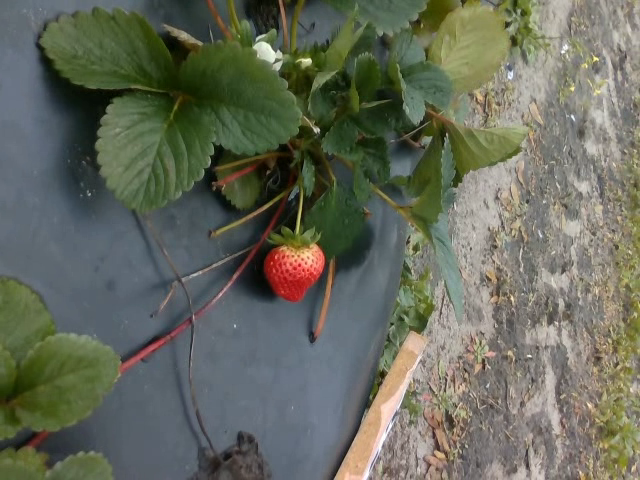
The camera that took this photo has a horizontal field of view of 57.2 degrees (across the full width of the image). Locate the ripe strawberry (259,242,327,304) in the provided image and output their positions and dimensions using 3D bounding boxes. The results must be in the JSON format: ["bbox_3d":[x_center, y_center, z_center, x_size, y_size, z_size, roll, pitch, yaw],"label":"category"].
[{"bbox_3d":[-0.019,0.028,0.478,0.049,0.064,0.061,19,31,16],"label":"ripe strawberry"}]
